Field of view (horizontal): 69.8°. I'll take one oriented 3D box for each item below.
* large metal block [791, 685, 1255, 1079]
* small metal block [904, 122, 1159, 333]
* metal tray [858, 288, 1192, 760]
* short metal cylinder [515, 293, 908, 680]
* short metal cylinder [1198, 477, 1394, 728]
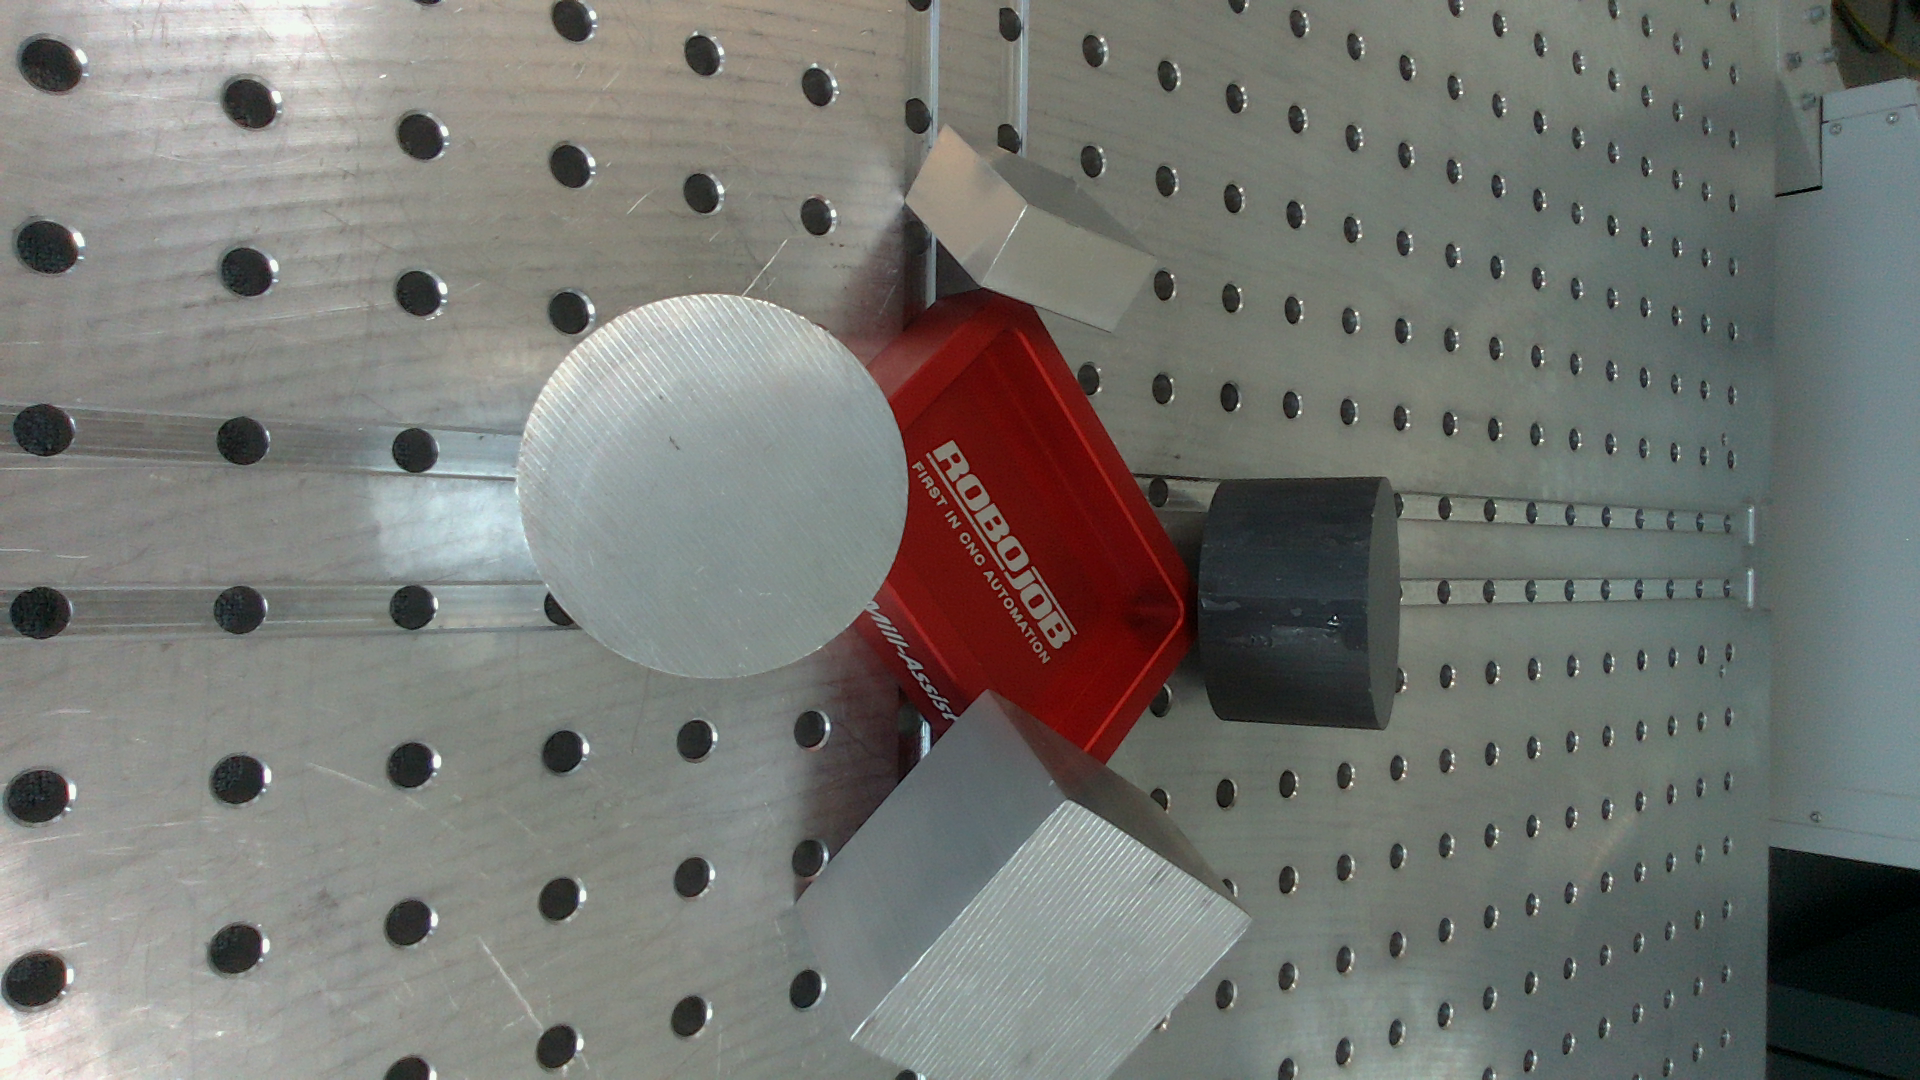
[{"bbox_3d":[0.016,0.099,0.367,0.080,0.050,0.080,-48,124,6],"label":"large metal block"},{"bbox_3d":[0.020,-0.088,0.388,0.050,0.050,0.025,12,121,-39],"label":"small metal block"},{"bbox_3d":[0.013,0.004,0.398,0.090,0.030,0.130,-49,119,-29],"label":"metal tray"},{"bbox_3d":[-0.056,-0.011,0.309,0.080,0.050,0.080,0,90,-14],"label":"short metal cylinder"},{"bbox_3d":[0.112,0.020,0.449,0.080,0.050,0.080,0,90,-66],"label":"short metal cylinder"}]
